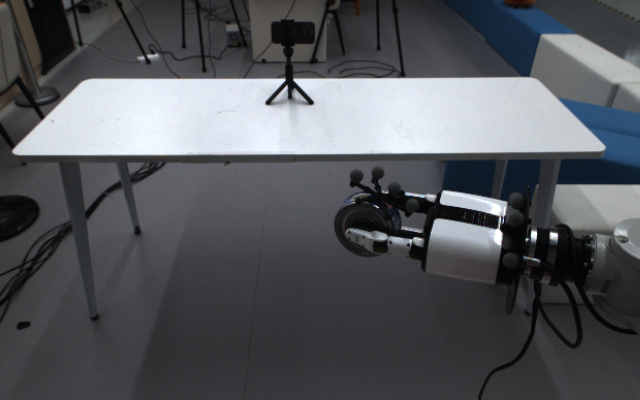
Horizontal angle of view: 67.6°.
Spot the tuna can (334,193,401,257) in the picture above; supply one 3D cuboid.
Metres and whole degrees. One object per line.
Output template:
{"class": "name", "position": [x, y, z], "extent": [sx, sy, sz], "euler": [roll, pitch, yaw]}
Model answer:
{"class": "tuna can", "position": [0.067, 0.039, 0.645], "extent": [0.085, 0.085, 0.034], "euler": [15, 31, 18]}
